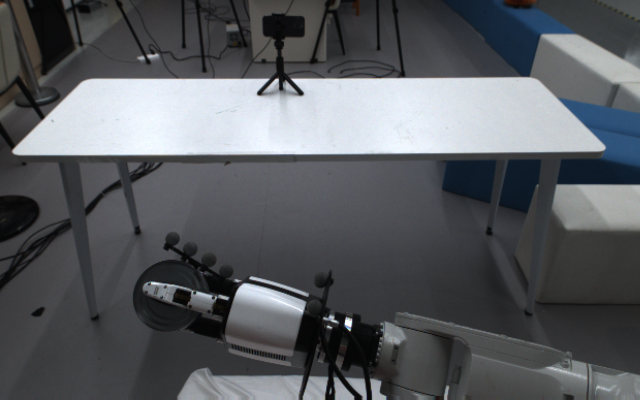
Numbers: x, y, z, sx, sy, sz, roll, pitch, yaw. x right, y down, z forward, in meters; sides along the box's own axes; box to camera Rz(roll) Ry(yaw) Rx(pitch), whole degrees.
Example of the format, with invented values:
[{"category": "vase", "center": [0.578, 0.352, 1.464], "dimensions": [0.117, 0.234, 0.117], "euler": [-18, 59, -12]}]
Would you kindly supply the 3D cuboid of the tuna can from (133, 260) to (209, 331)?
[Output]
[{"category": "tuna can", "center": [-0.179, 0.118, 0.594], "dimensions": [0.085, 0.034, 0.085], "euler": [1, 75, -4]}]
